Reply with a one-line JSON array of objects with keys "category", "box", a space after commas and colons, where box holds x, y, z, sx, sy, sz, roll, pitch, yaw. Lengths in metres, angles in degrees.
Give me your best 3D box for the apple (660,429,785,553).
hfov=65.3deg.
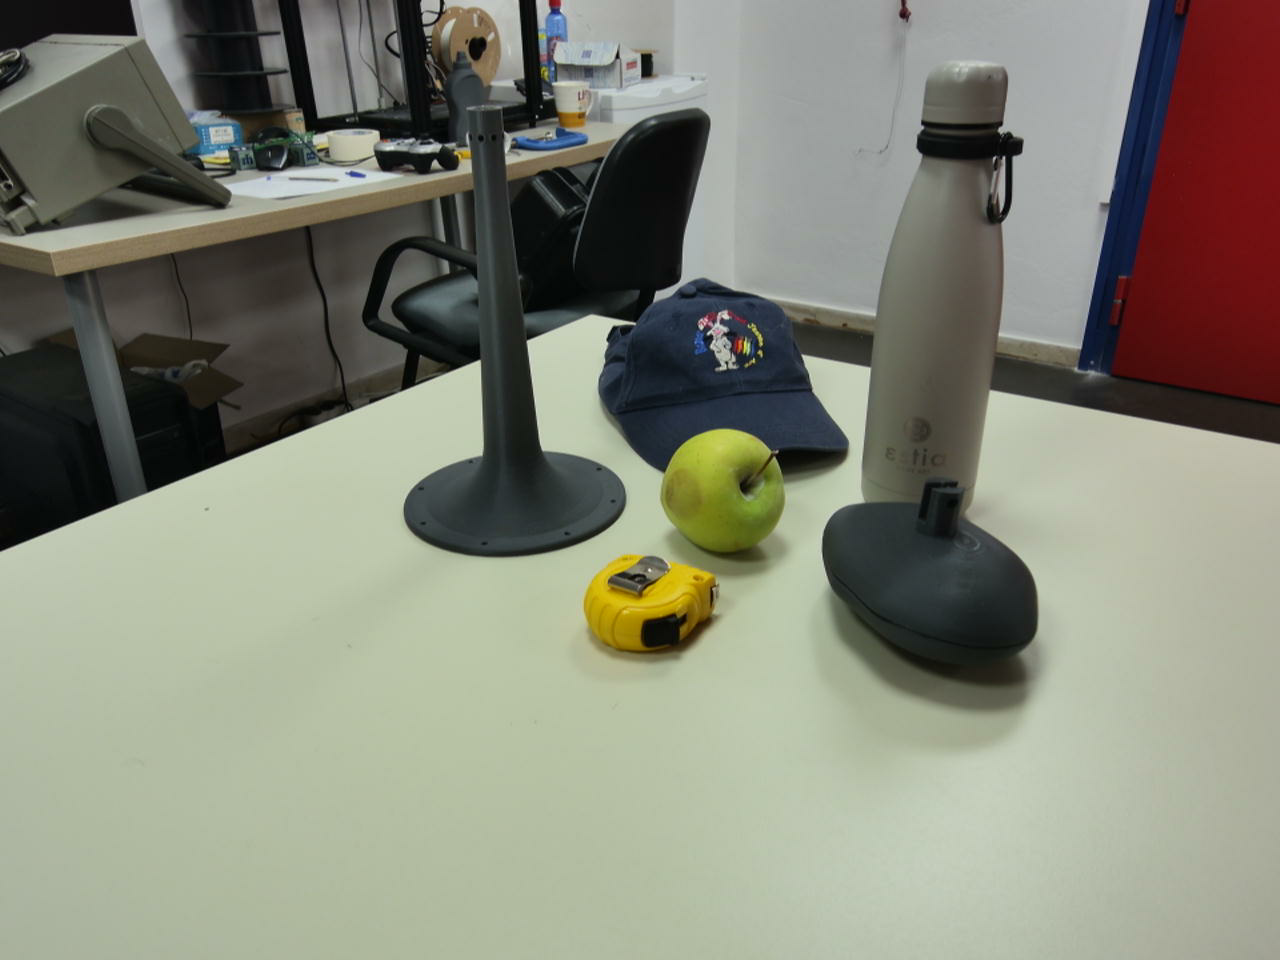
[{"category": "apple", "box": [0.051, 0.005, 0.609, 0.072, 0.075, 0.077, -4, 25, -9]}]
